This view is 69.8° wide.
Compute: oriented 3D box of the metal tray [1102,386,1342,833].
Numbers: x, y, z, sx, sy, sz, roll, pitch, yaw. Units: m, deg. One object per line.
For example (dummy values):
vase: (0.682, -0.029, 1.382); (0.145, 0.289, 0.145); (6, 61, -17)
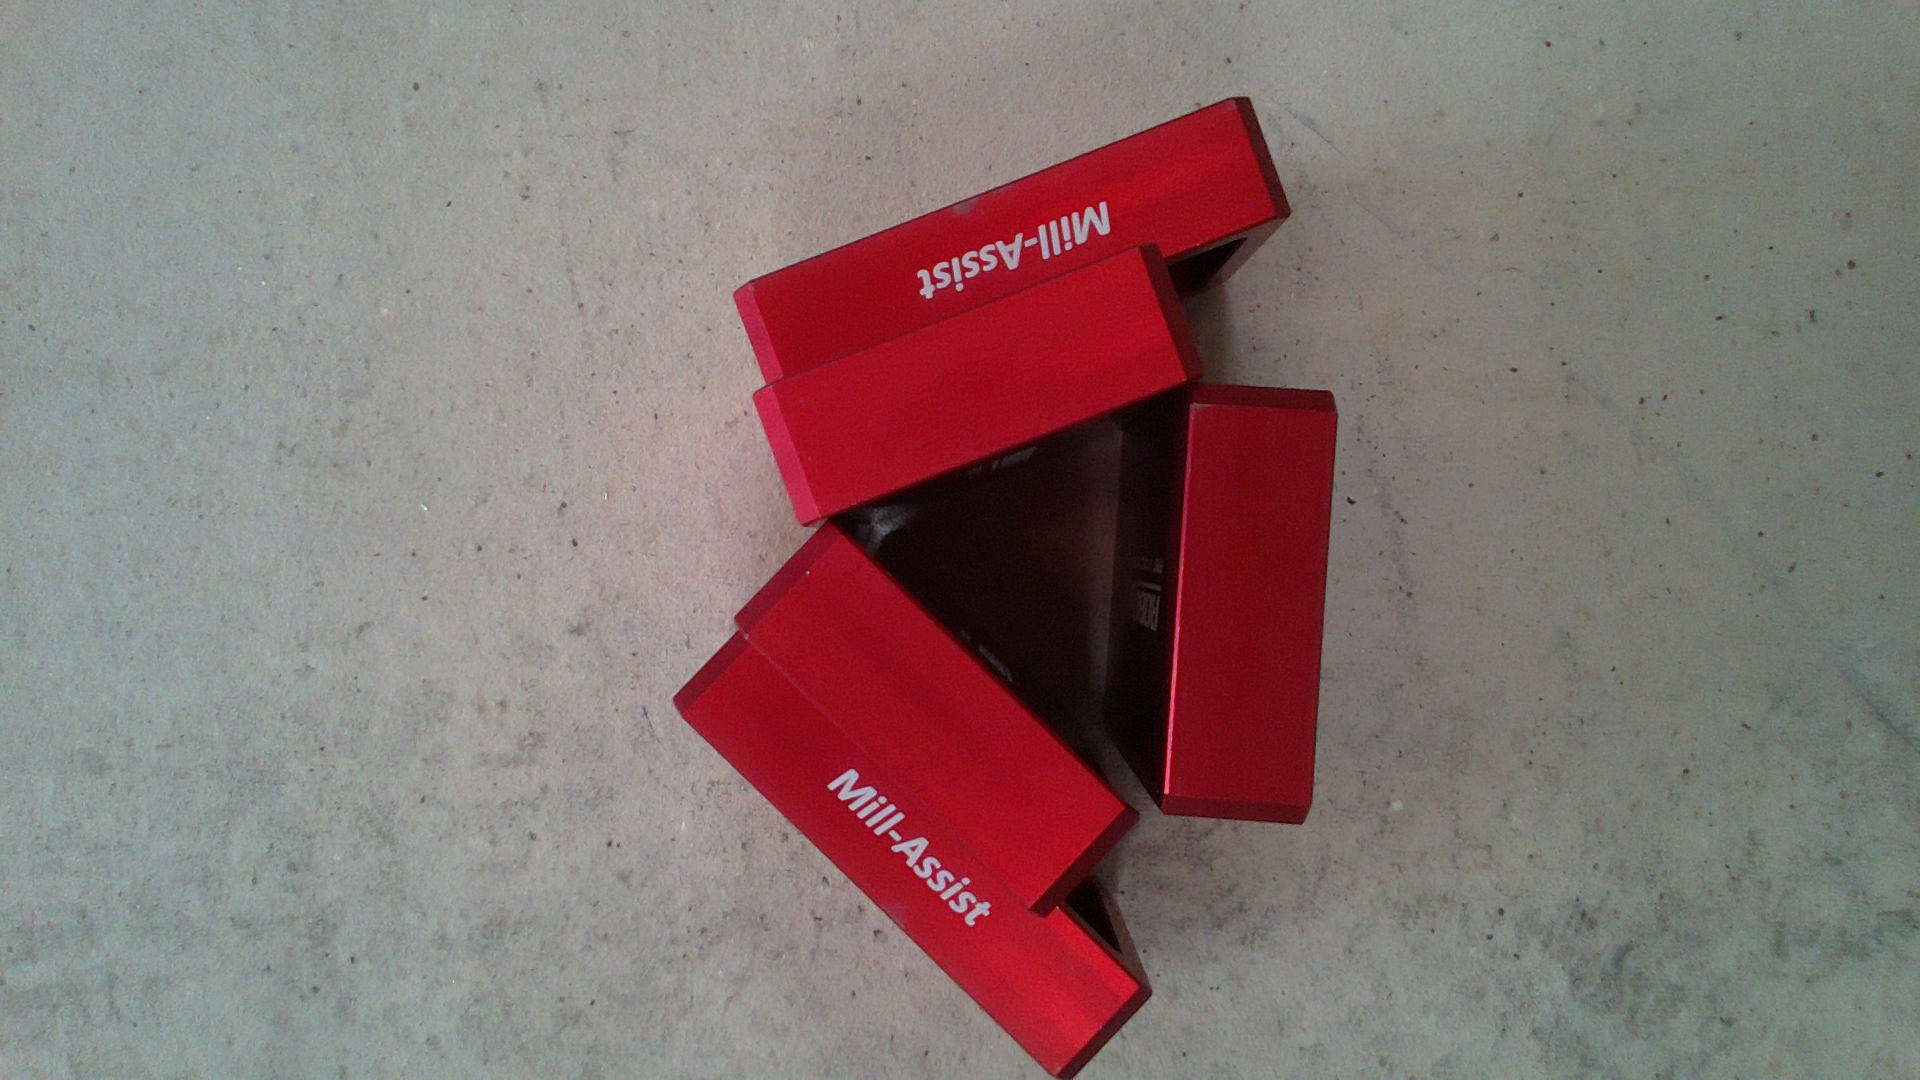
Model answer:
metal tray: (0.060, 0.014, 0.343); (0.030, 0.130, 0.090); (5, 90, 0)

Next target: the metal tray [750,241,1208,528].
metal tray: (0.004, -0.033, 0.342); (0.090, 0.130, 0.030); (-21, 90, 0)

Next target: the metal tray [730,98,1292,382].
metal tray: (0.012, -0.068, 0.362); (0.130, 0.090, 0.030); (-20, 90, 0)

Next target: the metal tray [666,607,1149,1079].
metal tray: (-0.012, 0.073, 0.362); (0.130, 0.090, 0.030); (44, 91, 0)

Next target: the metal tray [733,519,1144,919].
metal tray: (-0.004, 0.037, 0.343); (0.090, 0.130, 0.030); (44, 90, 0)
